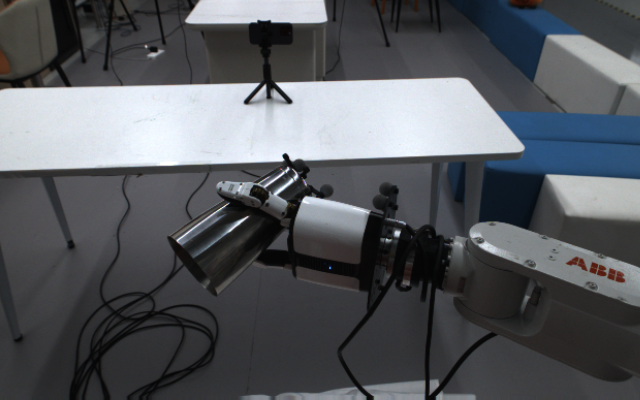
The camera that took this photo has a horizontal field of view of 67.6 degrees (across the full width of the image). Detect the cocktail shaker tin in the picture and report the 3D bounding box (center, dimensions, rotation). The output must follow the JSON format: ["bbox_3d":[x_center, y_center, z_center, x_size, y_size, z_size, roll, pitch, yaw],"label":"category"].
[{"bbox_3d":[-0.092,0.026,0.607,0.170,0.093,0.093,-38,49,-24],"label":"cocktail shaker tin"}]
